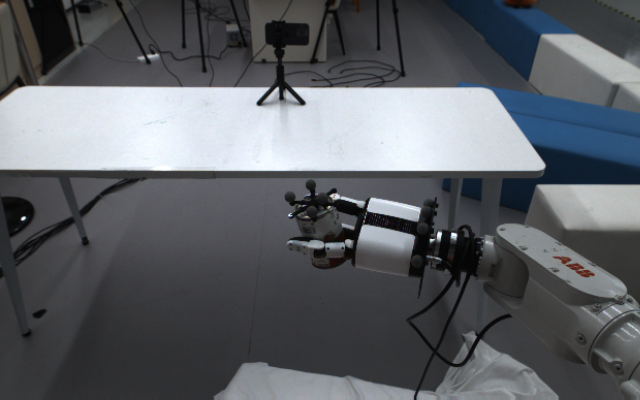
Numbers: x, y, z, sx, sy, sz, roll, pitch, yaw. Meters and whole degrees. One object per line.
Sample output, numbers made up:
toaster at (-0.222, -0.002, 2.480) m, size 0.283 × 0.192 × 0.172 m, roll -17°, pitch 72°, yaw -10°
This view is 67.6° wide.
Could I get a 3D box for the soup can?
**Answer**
soup can at (0.005, 0.051, 0.774) m, size 0.067 × 0.101 × 0.067 m, roll -14°, pitch 31°, yaw 8°
